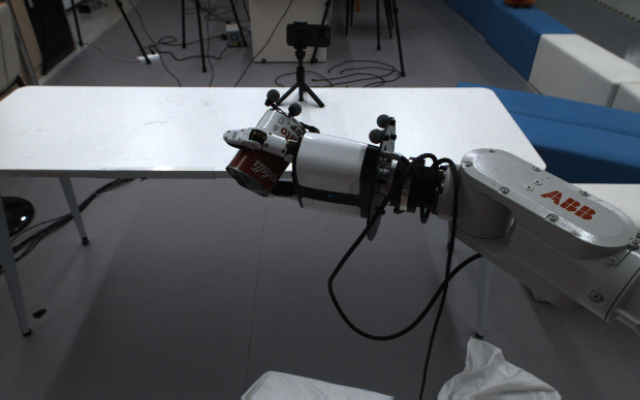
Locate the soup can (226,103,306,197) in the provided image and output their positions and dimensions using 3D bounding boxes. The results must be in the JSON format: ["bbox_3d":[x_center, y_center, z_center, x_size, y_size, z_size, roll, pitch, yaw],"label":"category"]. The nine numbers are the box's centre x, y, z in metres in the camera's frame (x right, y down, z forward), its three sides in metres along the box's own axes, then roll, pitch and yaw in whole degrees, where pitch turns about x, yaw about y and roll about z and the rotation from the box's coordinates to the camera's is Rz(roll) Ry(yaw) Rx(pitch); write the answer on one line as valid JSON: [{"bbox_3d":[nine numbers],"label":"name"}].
[{"bbox_3d":[-0.071,-0.064,0.651,0.067,0.067,0.101,24,73,28],"label":"soup can"}]
